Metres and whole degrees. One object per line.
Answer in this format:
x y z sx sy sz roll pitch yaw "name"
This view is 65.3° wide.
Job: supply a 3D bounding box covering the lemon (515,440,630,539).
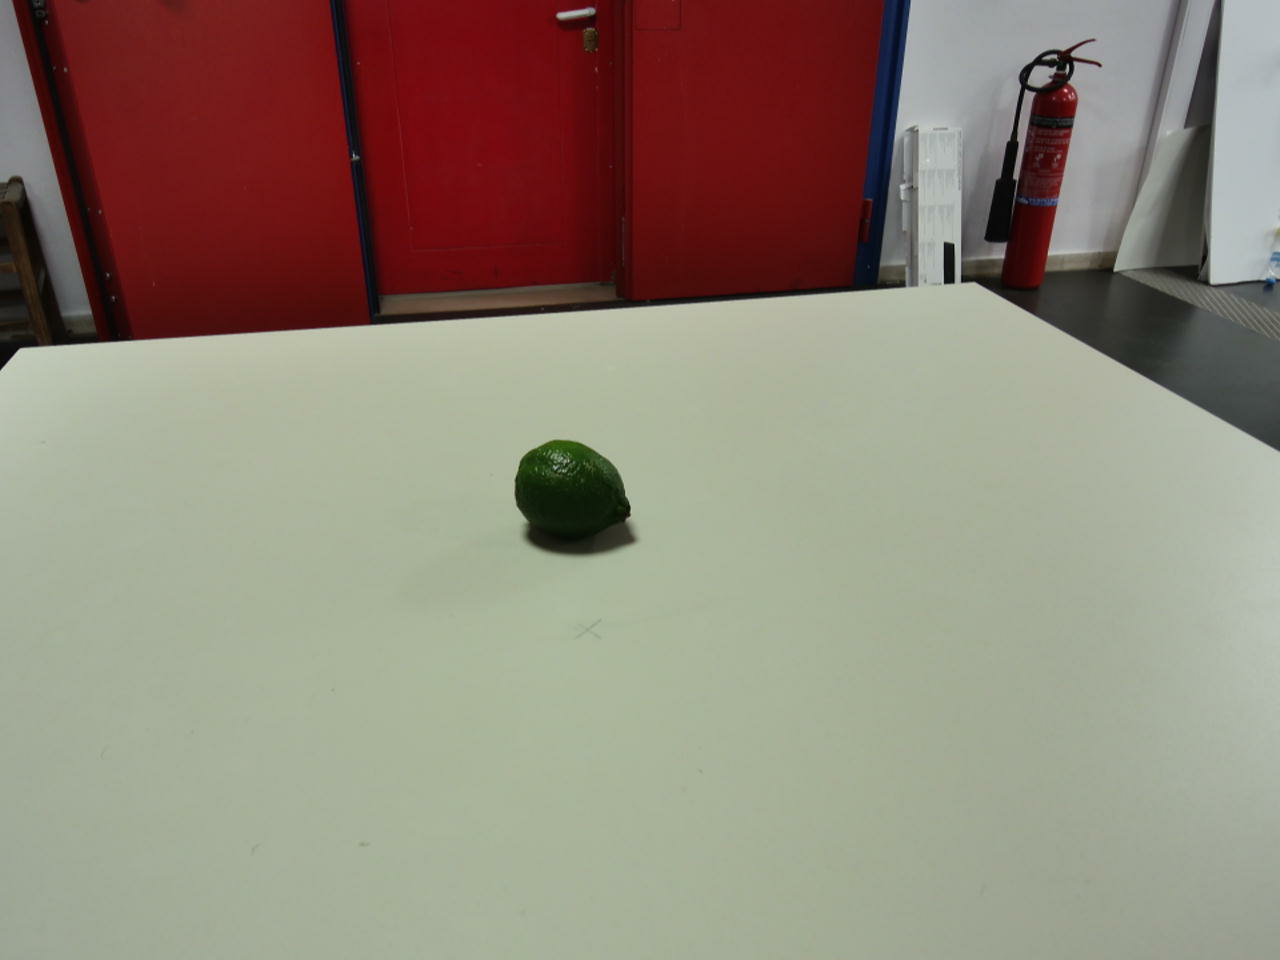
-0.038 0.004 0.525 0.057 0.051 0.054 -8 27 -15 "lemon"
